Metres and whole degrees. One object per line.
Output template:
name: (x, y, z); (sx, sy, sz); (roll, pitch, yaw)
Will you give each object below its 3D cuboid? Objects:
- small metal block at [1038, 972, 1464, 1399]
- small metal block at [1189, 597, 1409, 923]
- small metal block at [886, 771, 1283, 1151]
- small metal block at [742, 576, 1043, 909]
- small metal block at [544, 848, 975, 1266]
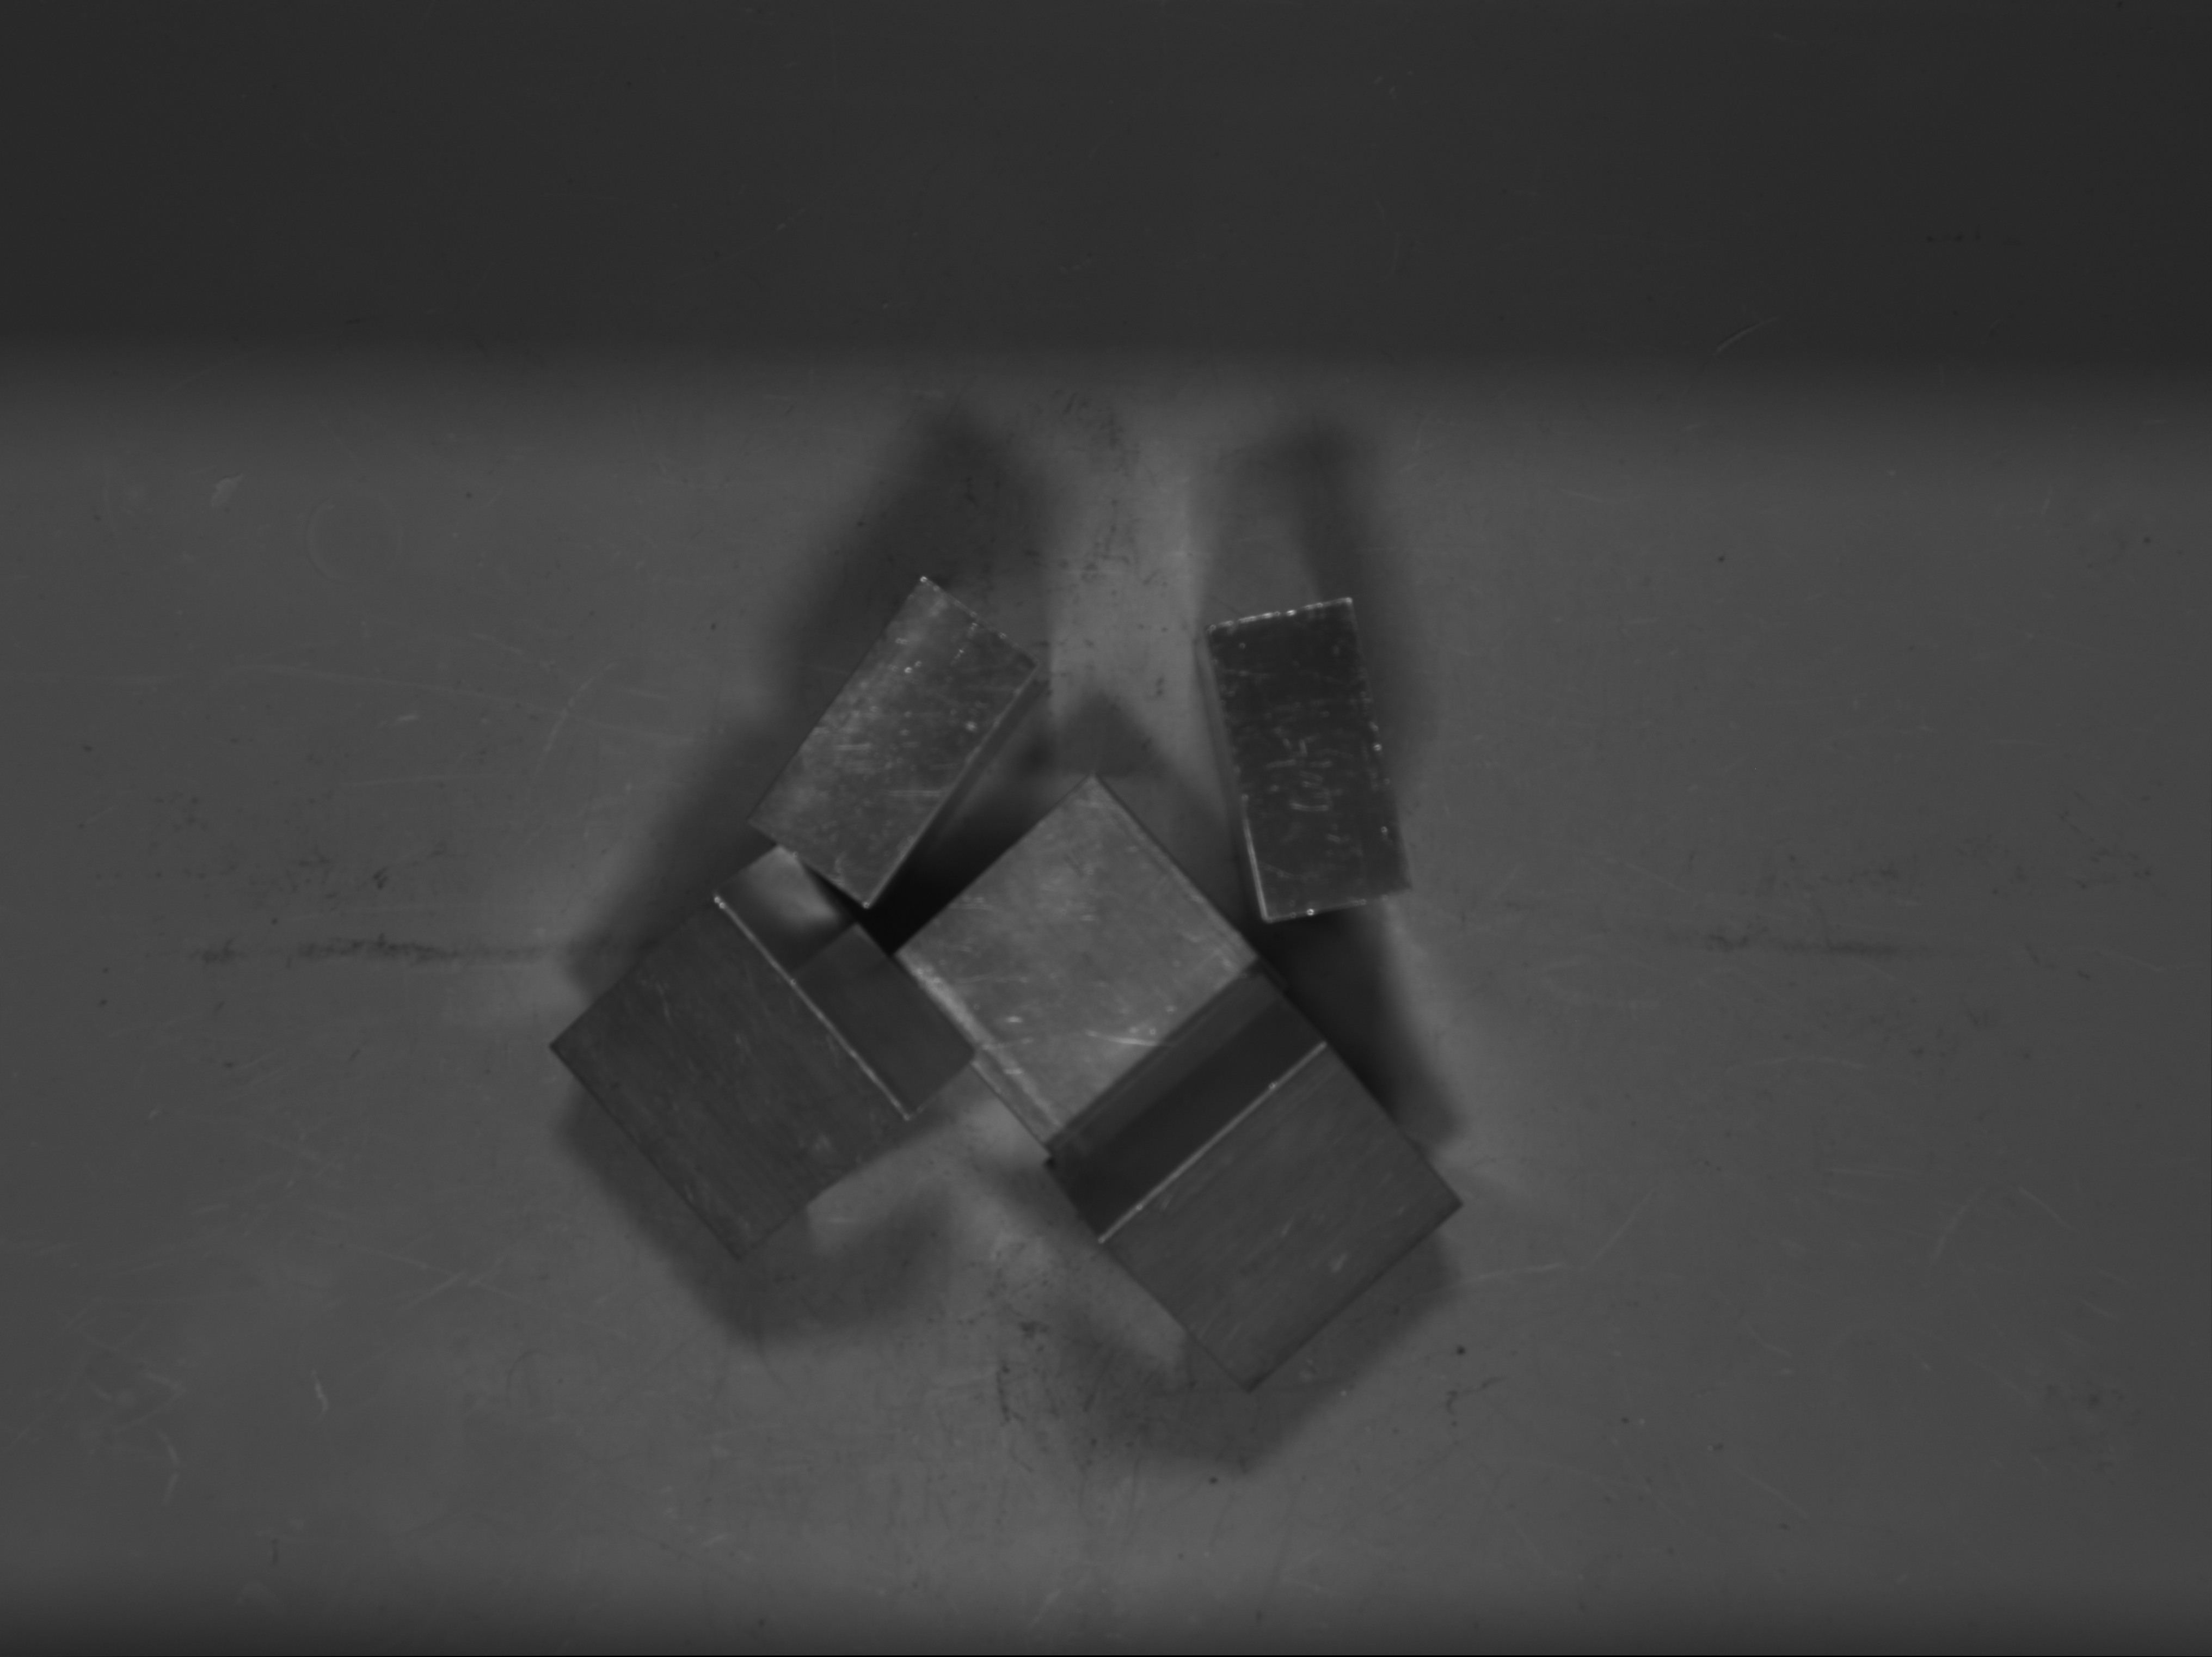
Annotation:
small metal block: (0.025, 0.062, 0.631); (0.050, 0.025, 0.050); (-41, 127, -1)
small metal block: (0.032, -0.011, 0.631); (0.025, 0.050, 0.050); (-11, 90, -1)
small metal block: (-0.005, 0.025, 0.643); (0.050, 0.025, 0.050); (-42, 90, 0)
small metal block: (-0.035, -0.014, 0.630); (0.025, 0.050, 0.050); (36, 90, 0)
small metal block: (-0.060, 0.039, 0.632); (0.050, 0.025, 0.050); (49, 123, 0)
